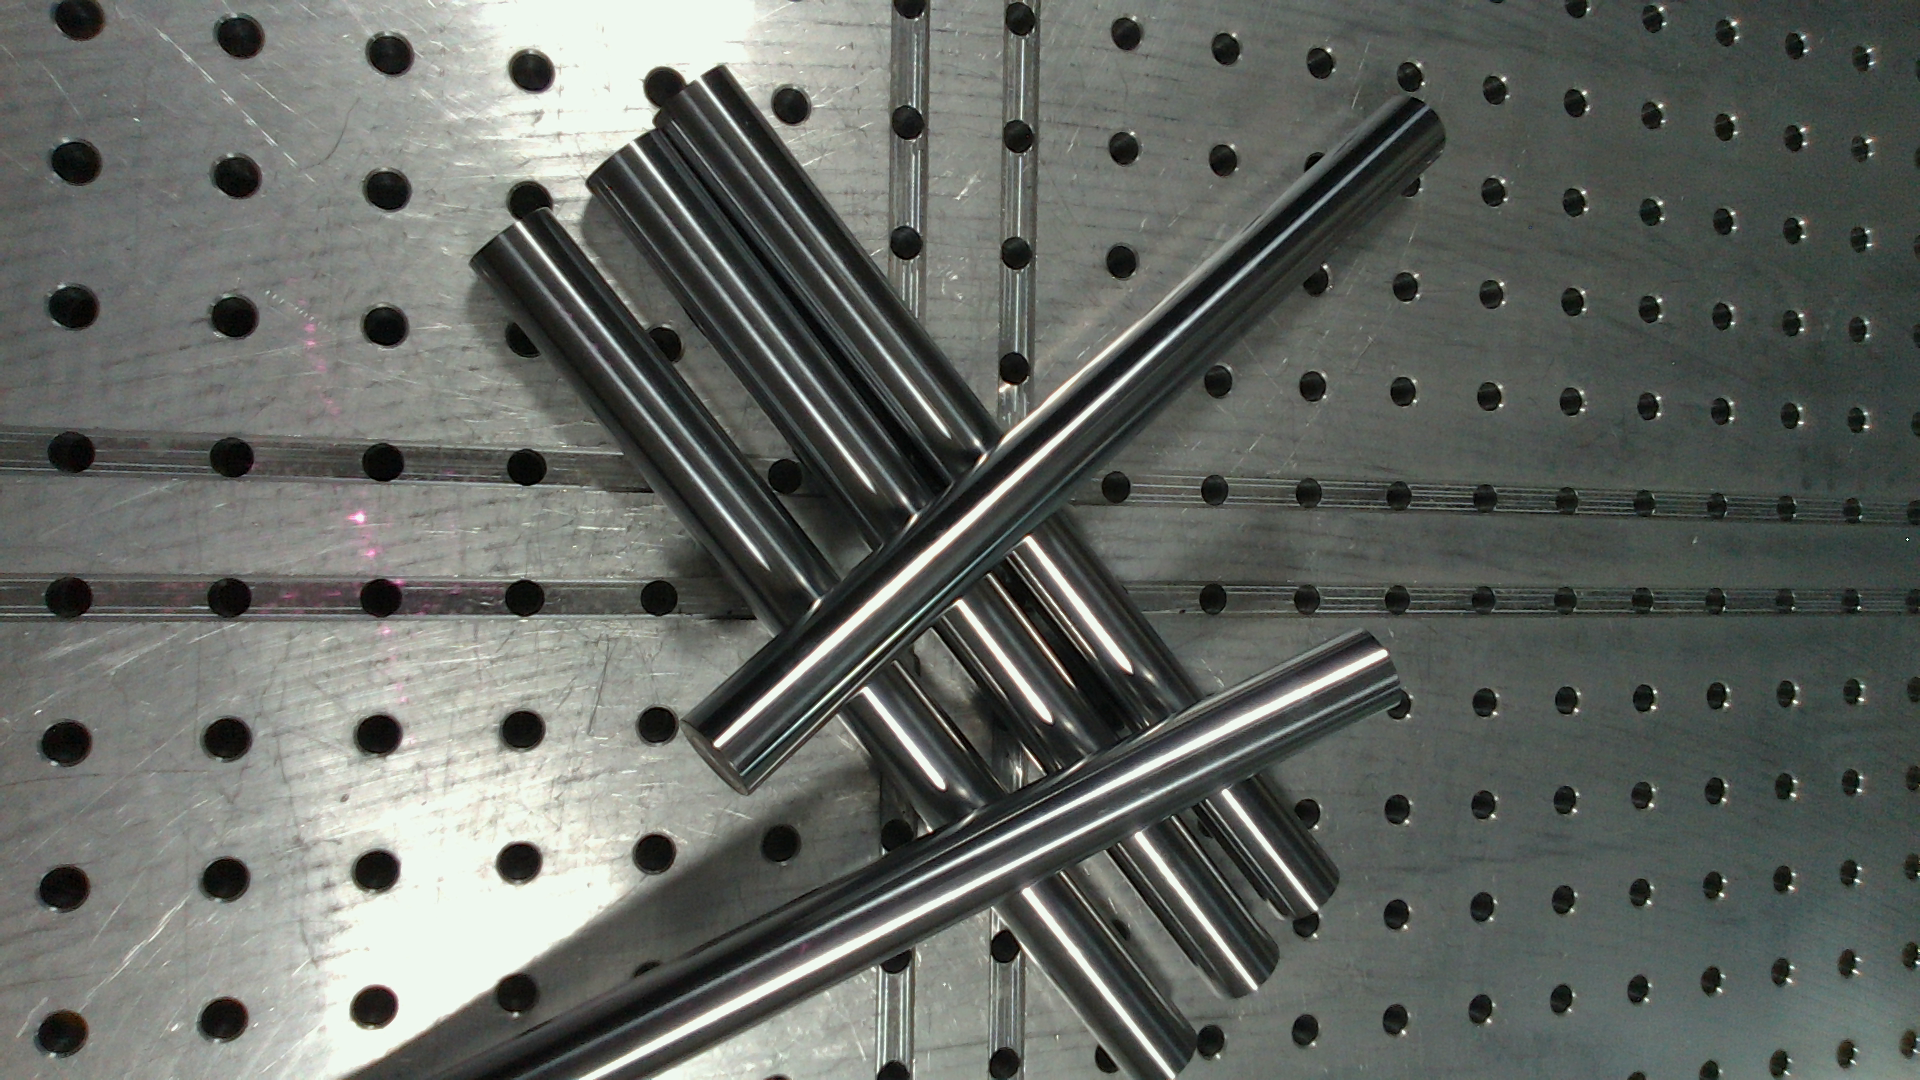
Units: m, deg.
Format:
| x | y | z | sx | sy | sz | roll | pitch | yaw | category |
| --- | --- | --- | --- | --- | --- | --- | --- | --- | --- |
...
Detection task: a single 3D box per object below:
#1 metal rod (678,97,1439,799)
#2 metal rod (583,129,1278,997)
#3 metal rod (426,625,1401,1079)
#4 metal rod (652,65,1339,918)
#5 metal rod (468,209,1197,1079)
| x | y | z | sx | sy | sz | roll | pitch | yaw | category |
| --- | --- | --- | --- | --- | --- | --- | --- | --- | --- |
| 0.043 | -0.040 | 0.390 | 0.301 | 0.025 | 0.025 | -42 | 103 | -23 | metal rod |
| -0.001 | 0.016 | 0.396 | 0.025 | 0.025 | 0.300 | -41 | 103 | -15 | metal rod |
| -0.016 | 0.096 | 0.368 | 0.300 | 0.025 | 0.025 | -24 | 98 | -10 | metal rod |
| 0.018 | -0.005 | 0.402 | 0.025 | 0.025 | 0.300 | -42 | 103 | -15 | metal rod |
| -0.027 | 0.039 | 0.386 | 0.025 | 0.025 | 0.300 | -41 | 103 | -15 | metal rod |
